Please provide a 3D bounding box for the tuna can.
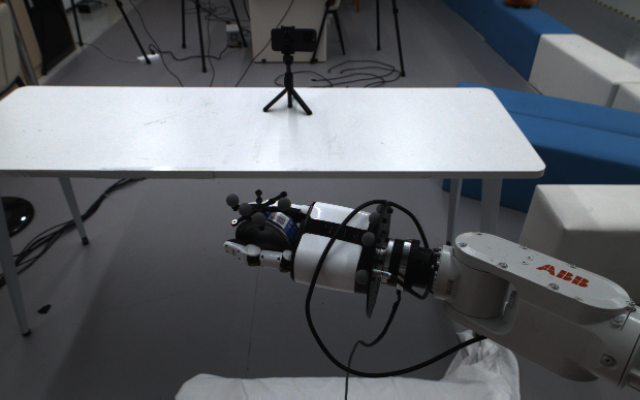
[{"bbox_3d":[-0.070,0.050,0.672,0.085,0.085,0.034,14,40,16],"label":"tuna can"}]
